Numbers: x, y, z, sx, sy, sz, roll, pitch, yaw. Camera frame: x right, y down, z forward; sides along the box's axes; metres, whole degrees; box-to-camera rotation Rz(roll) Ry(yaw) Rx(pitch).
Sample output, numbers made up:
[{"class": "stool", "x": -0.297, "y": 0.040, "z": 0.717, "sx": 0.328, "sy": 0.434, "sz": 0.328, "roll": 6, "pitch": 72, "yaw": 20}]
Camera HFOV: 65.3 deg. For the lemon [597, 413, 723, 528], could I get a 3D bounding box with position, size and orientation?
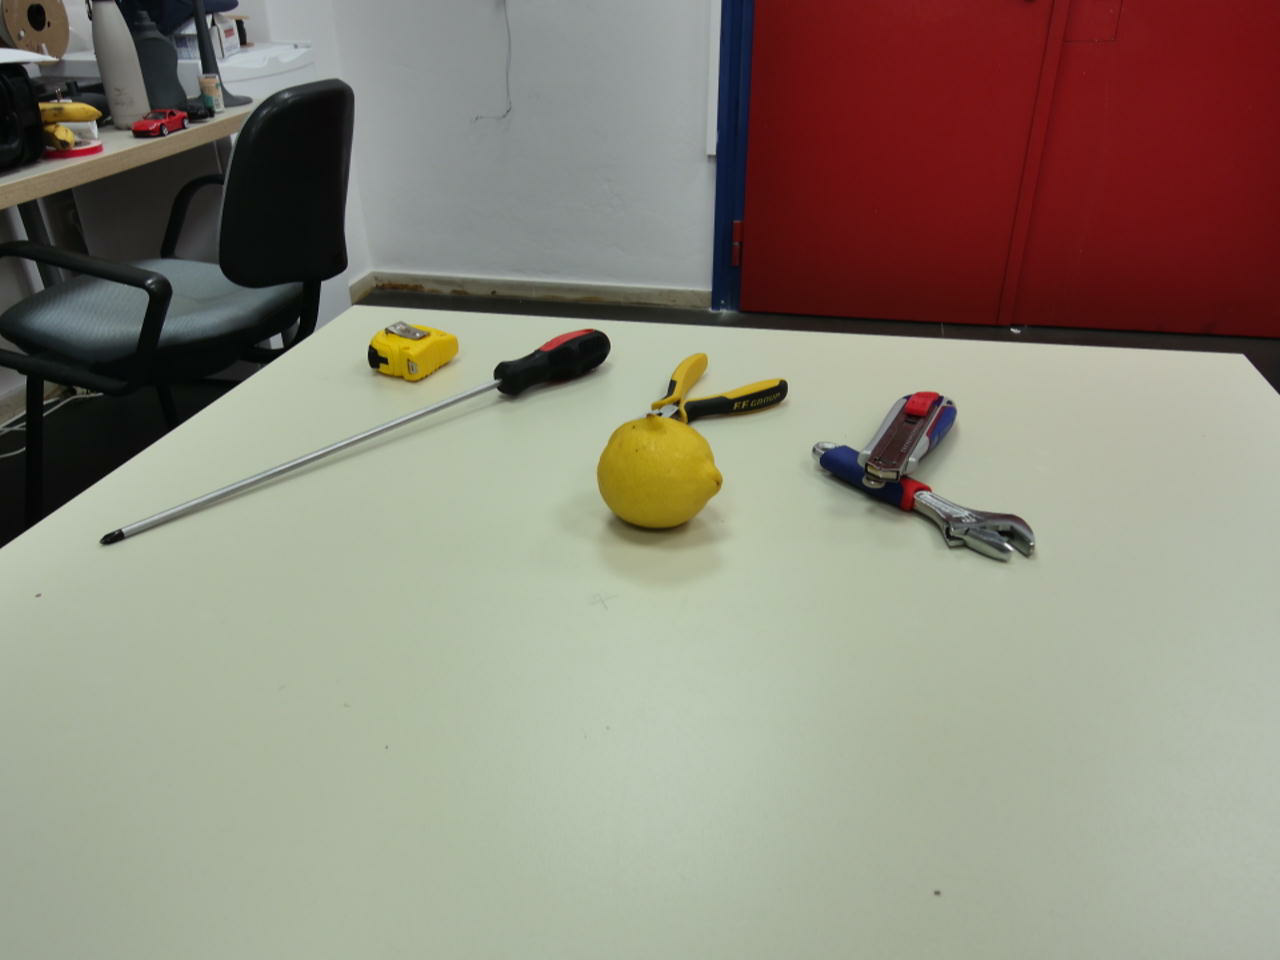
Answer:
[{"class": "lemon", "x": 0.010, "y": -0.008, "z": 0.606, "sx": 0.070, "sy": 0.071, "sz": 0.071, "roll": -12, "pitch": 28, "yaw": -20}]
